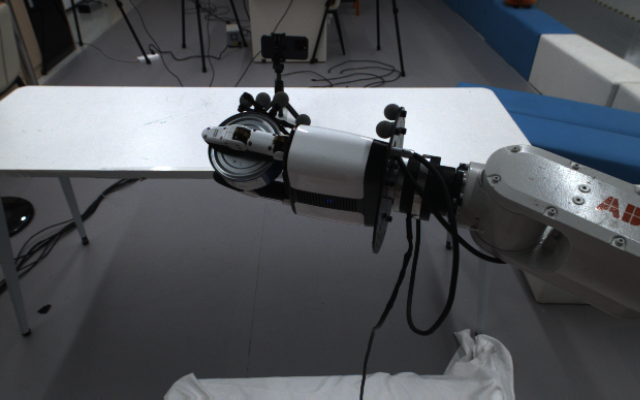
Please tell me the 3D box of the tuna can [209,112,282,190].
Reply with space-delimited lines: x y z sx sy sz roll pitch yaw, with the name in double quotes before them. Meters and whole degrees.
"tuna can" -0.080 -0.057 0.555 0.085 0.034 0.085 -4 67 10
